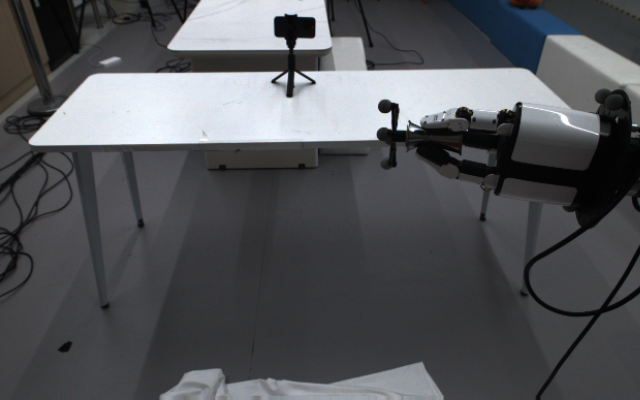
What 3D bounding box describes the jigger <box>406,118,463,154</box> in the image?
[{"bbox_3d":[0.151,-0.084,0.612,0.071,0.043,0.043,3,34,15],"label":"jigger"}]
